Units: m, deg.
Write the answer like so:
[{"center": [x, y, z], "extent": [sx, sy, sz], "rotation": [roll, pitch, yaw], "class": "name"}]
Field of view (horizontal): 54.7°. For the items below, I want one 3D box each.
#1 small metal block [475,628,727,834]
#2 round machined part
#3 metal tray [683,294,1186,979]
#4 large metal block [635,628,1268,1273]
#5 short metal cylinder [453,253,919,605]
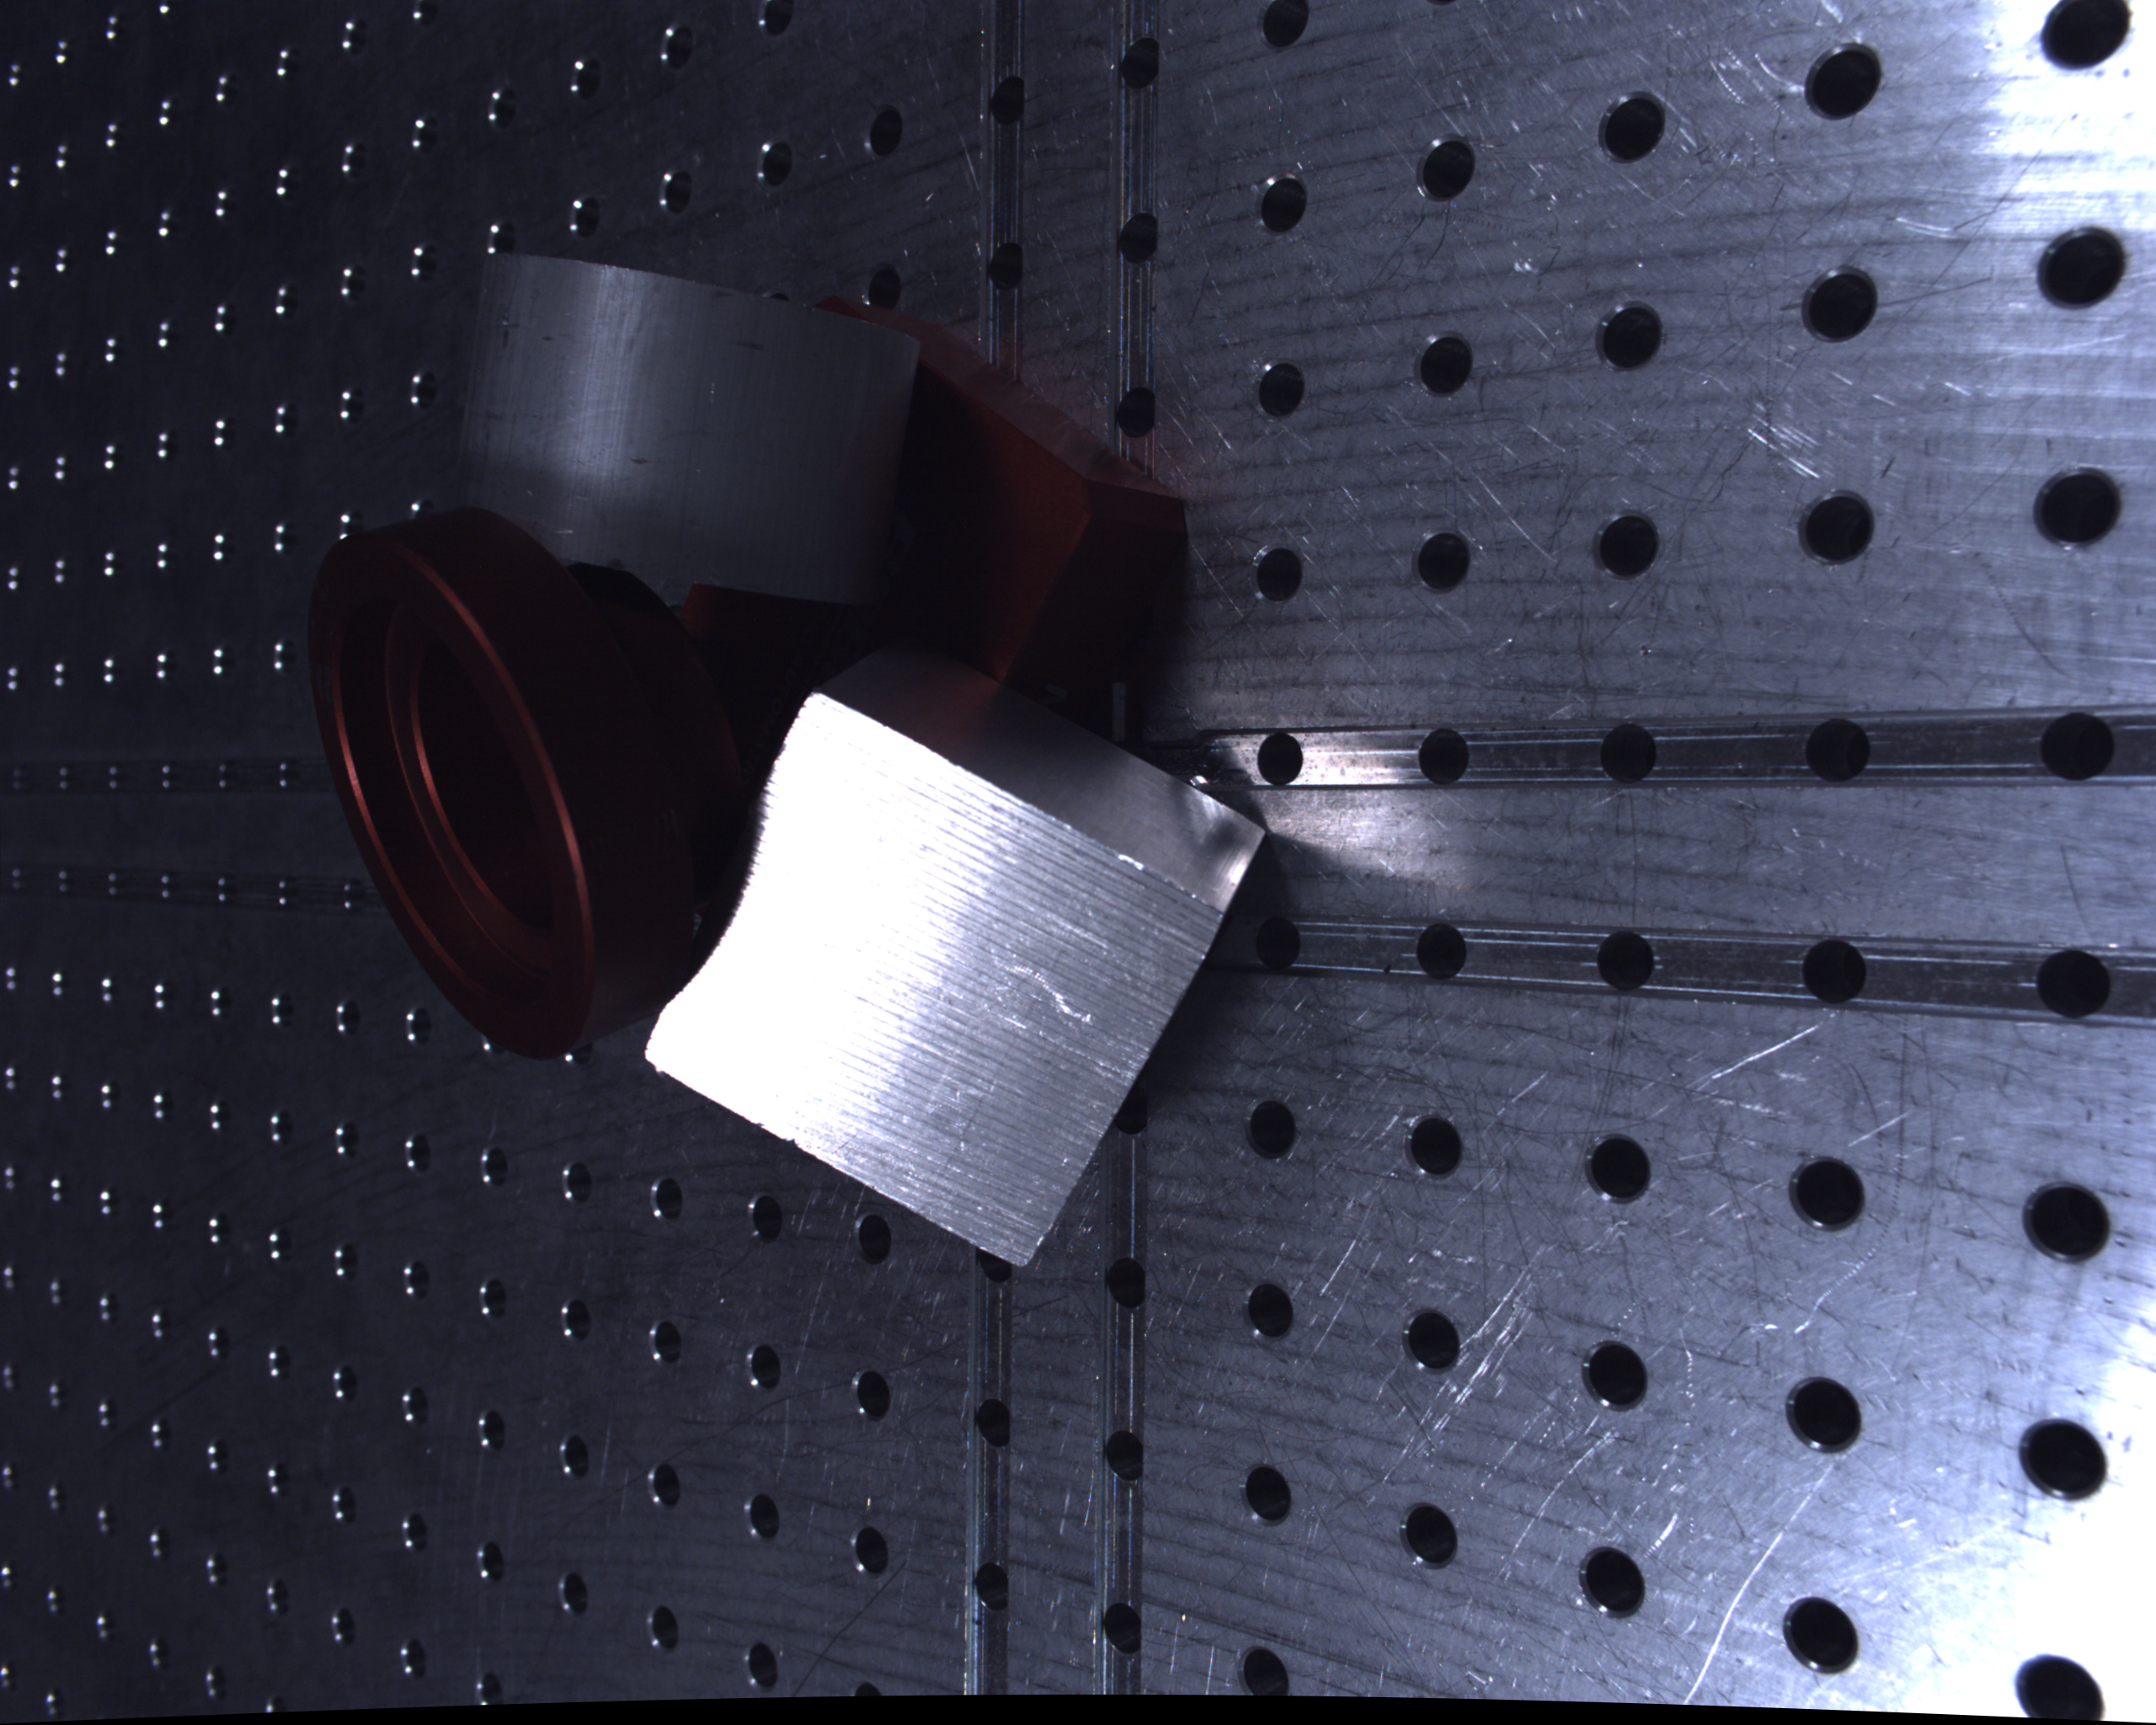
[{"center": [-0.106, -0.027, 0.437], "extent": [0.025, 0.050, 0.050], "rotation": [24, 105, 37], "class": "small metal block"}, {"center": [-0.097, -0.017, 0.379], "extent": [0.098, 0.042, 0.097], "rotation": [28, 130, 40], "class": "round machined part"}, {"center": [-0.043, -0.041, 0.440], "extent": [0.090, 0.030, 0.129], "rotation": [42, 115, 31], "class": "metal tray"}, {"center": [-0.022, 0.015, 0.386], "extent": [0.080, 0.050, 0.079], "rotation": [29, 111, 3], "class": "large metal block"}, {"center": [-0.074, -0.080, 0.392], "extent": [0.080, 0.081, 0.050], "rotation": [17, 101, 38], "class": "short metal cylinder"}]
